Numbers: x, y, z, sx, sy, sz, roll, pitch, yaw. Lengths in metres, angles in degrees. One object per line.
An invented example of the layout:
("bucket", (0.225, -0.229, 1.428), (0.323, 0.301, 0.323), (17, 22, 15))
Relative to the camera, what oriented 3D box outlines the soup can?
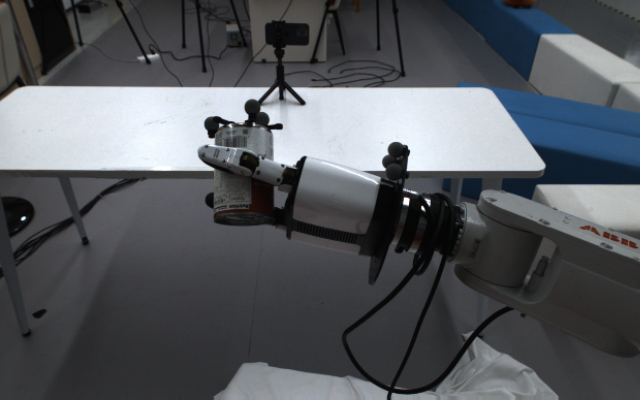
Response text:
("soup can", (-0.083, -0.026, 0.540), (0.067, 0.067, 0.101), (-1, 77, -5))
